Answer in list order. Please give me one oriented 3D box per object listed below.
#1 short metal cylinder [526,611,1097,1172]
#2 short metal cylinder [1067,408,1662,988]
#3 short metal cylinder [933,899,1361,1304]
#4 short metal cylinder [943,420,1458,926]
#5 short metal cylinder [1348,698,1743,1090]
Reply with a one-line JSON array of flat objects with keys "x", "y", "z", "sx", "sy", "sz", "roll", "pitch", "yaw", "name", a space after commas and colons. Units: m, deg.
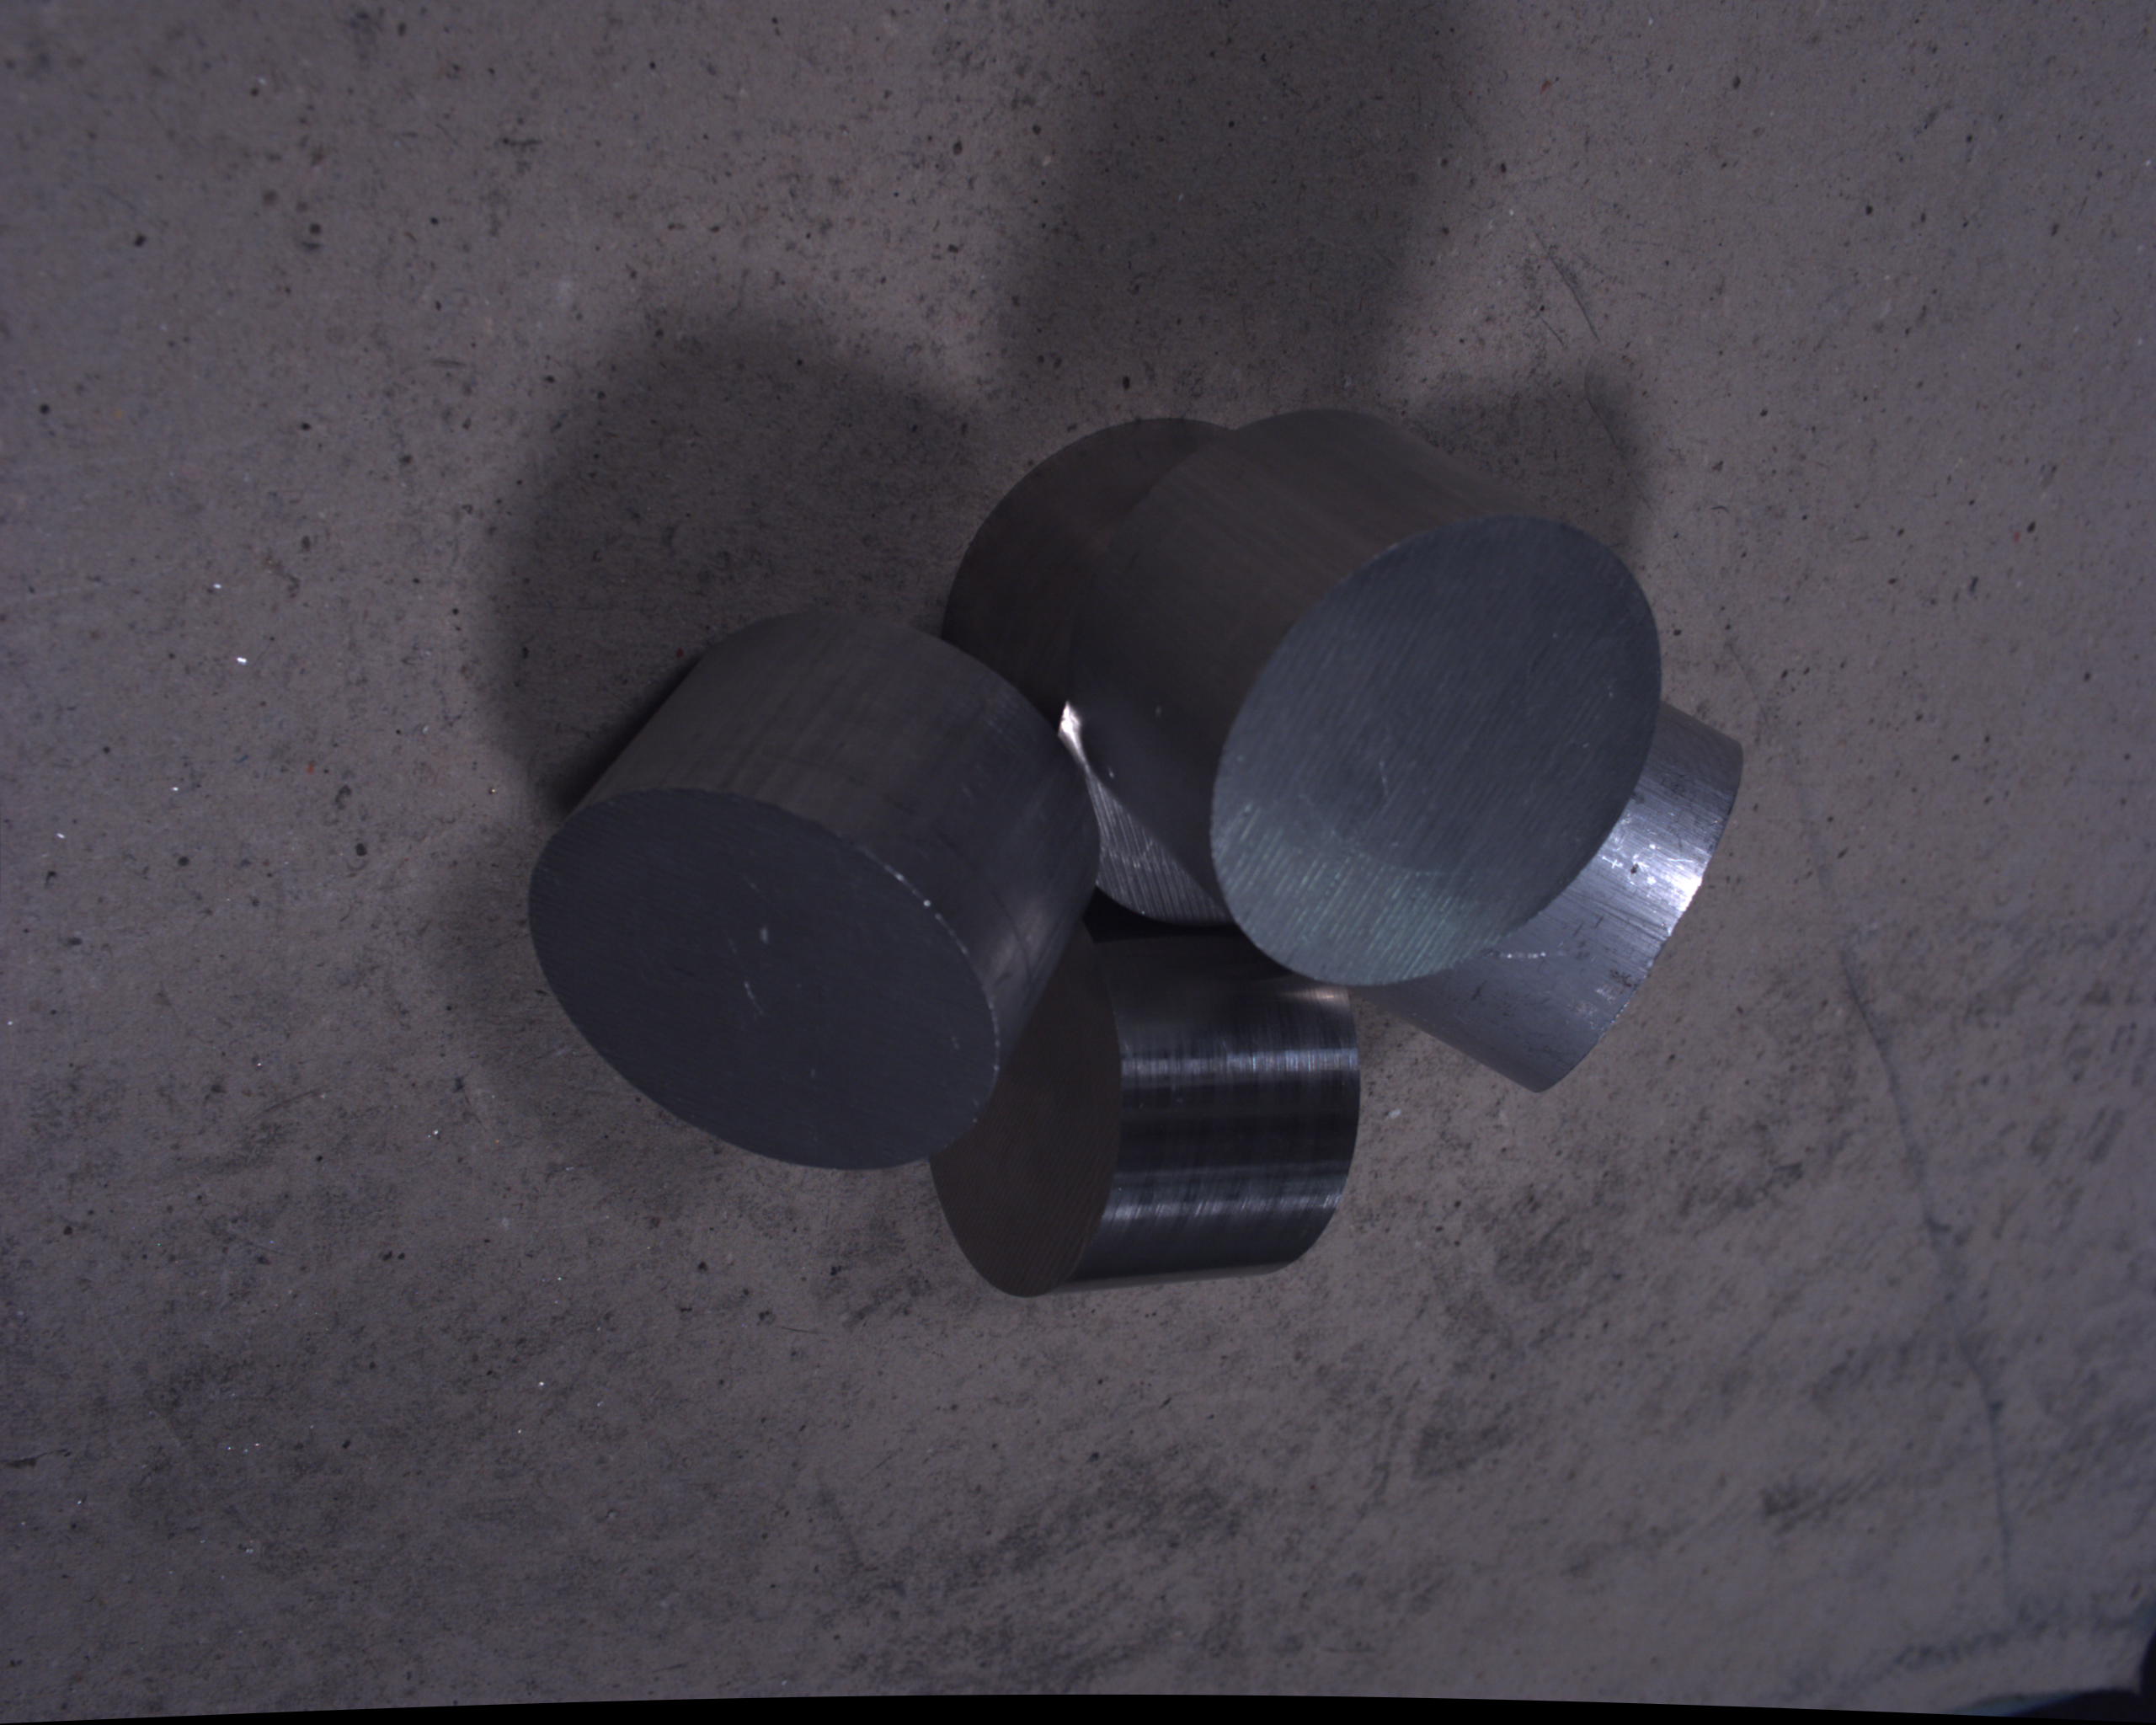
[{"x": -0.043, "y": 0.005, "z": 0.347, "sx": 0.080, "sy": 0.050, "sz": 0.079, "roll": 12, "pitch": 131, "yaw": 14, "name": "short metal cylinder"}, {"x": 0.045, "y": -0.027, "z": 0.336, "sx": 0.081, "sy": 0.050, "sz": 0.079, "roll": -14, "pitch": 125, "yaw": -21, "name": "short metal cylinder"}, {"x": 0.010, "y": 0.043, "z": 0.405, "sx": 0.050, "sy": 0.080, "sz": 0.079, "roll": 2, "pitch": 118, "yaw": -30, "name": "short metal cylinder"}, {"x": 0.022, "y": -0.035, "z": 0.384, "sx": 0.081, "sy": 0.050, "sz": 0.079, "roll": -14, "pitch": 125, "yaw": -21, "name": "short metal cylinder"}, {"x": 0.087, "y": -0.002, "z": 0.414, "sx": 0.050, "sy": 0.080, "sz": 0.080, "roll": 29, "pitch": 106, "yaw": 2, "name": "short metal cylinder"}]
